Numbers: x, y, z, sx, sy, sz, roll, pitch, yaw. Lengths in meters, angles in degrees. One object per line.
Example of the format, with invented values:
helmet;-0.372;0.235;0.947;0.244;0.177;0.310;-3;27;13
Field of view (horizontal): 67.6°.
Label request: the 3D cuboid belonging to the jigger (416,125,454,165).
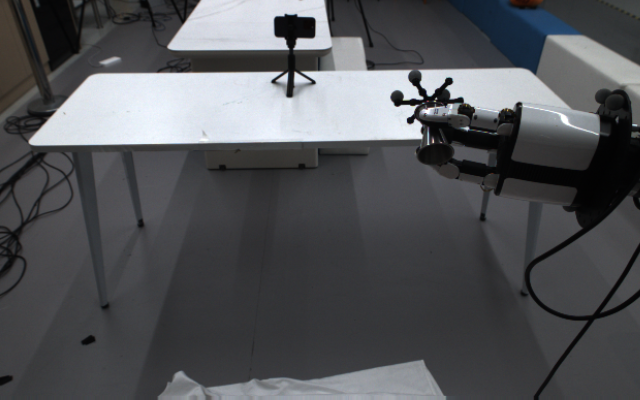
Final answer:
jigger;0.139;-0.086;0.594;0.043;0.043;0.071;2;59;-1
